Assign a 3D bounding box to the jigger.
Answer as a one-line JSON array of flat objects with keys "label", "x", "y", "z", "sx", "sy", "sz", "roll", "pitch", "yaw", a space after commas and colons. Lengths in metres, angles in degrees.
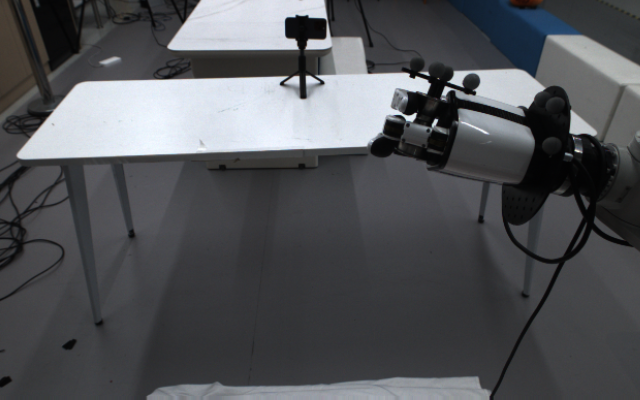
[{"label": "jigger", "x": 0.116, "y": -0.084, "z": 0.548, "sx": 0.043, "sy": 0.071, "sz": 0.043, "roll": 18, "pitch": 17, "yaw": -6}]
